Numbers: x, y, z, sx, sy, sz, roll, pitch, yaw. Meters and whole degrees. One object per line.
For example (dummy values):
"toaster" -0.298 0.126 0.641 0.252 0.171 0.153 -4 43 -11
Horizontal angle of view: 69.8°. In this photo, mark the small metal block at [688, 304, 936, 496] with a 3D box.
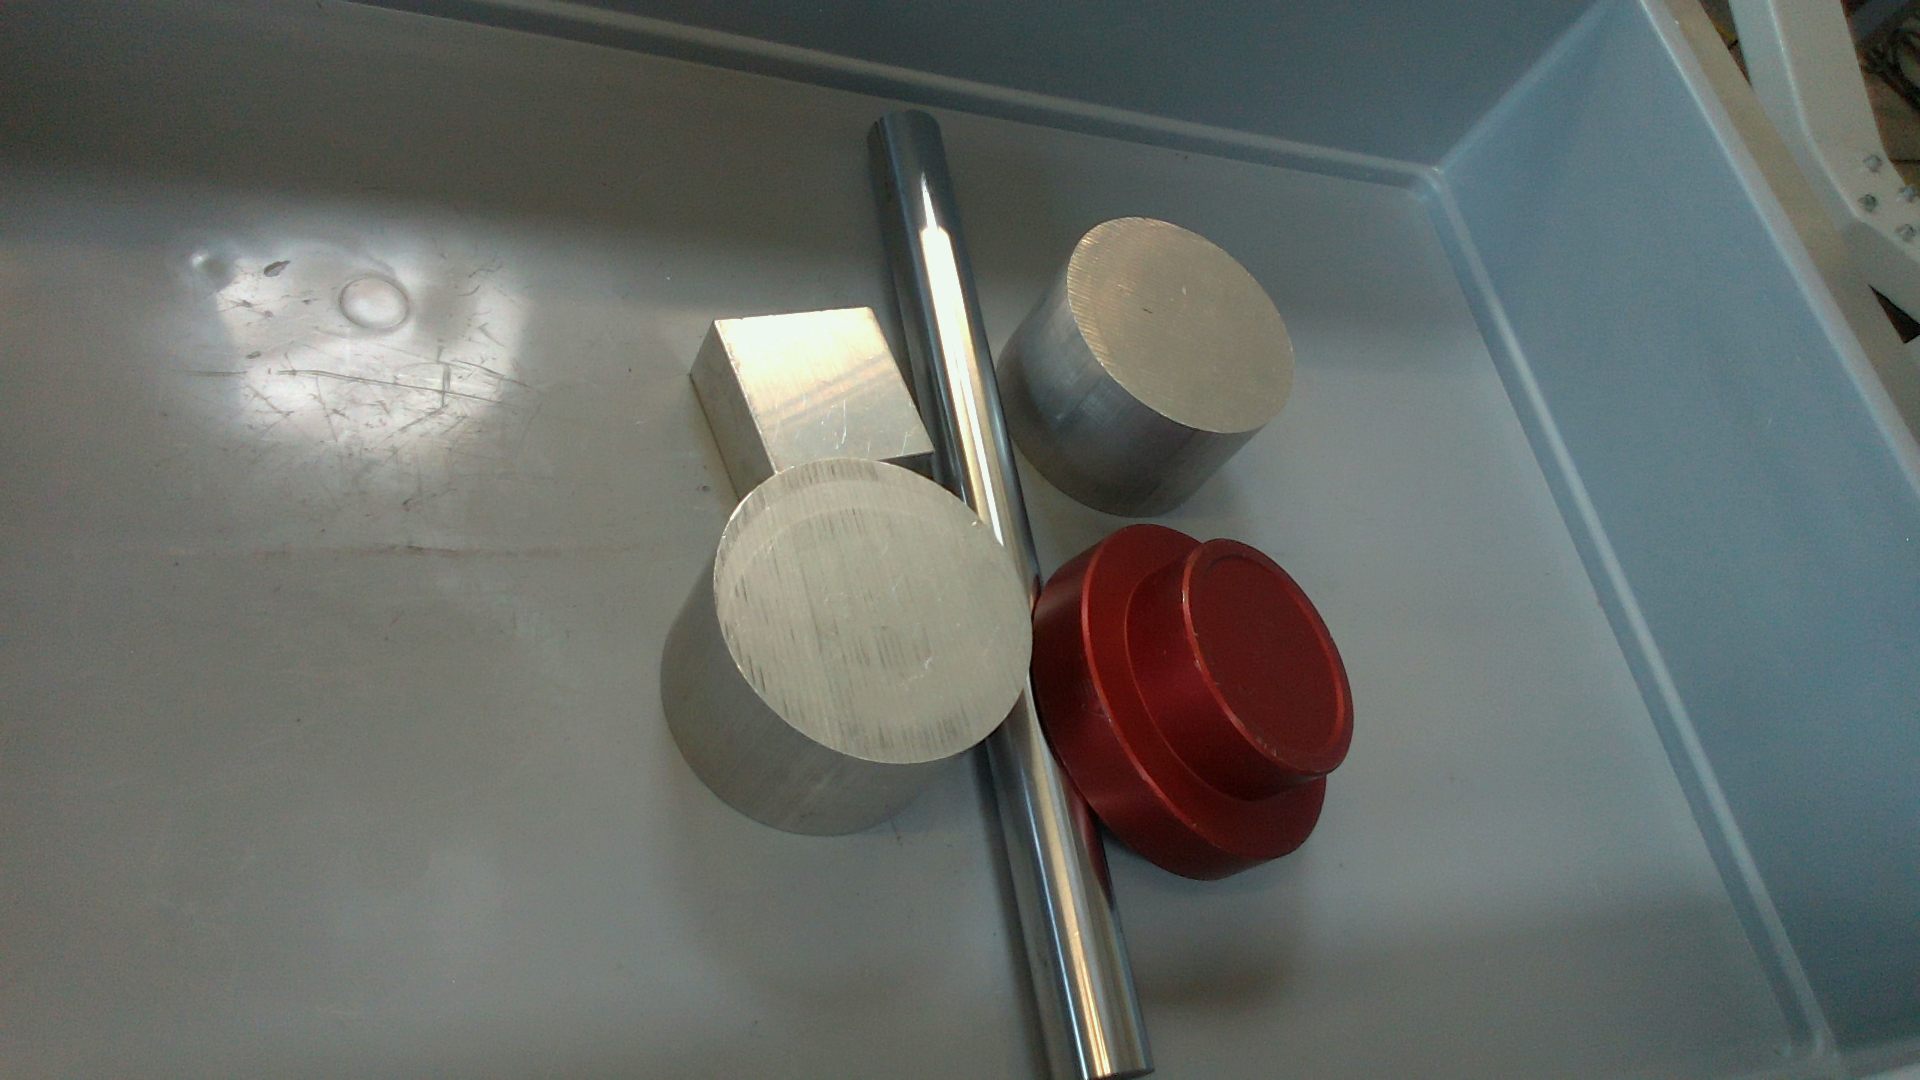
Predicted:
"small metal block" -0.042 -0.037 0.388 0.050 0.025 0.050 -12 68 -33

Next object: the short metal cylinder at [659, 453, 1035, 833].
"short metal cylinder" -0.029 0.026 0.340 0.080 0.050 0.080 14 56 -21

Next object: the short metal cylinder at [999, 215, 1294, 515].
"short metal cylinder" 0.058 -0.055 0.436 0.080 0.050 0.080 14 56 -21

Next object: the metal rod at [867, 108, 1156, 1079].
"metal rod" 0.008 -0.003 0.394 0.025 0.025 0.300 3 60 -27

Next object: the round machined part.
"round machined part" 0.069 0.038 0.375 0.098 0.042 0.098 27 45 -30
